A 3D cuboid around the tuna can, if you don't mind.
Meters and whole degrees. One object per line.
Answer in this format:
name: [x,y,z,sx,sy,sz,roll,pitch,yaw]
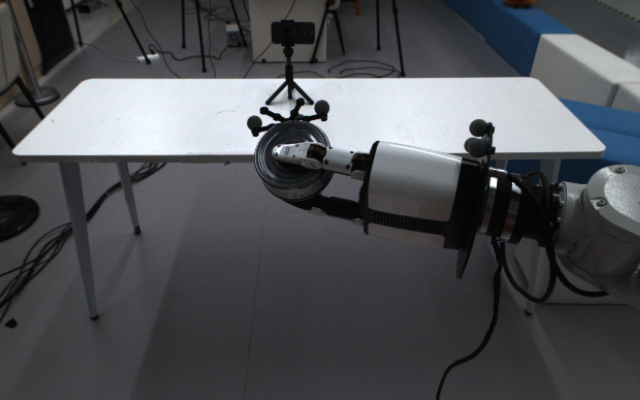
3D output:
tuna can: [-0.023,-0.039,0.529,0.085,0.034,0.085,-4,68,9]
